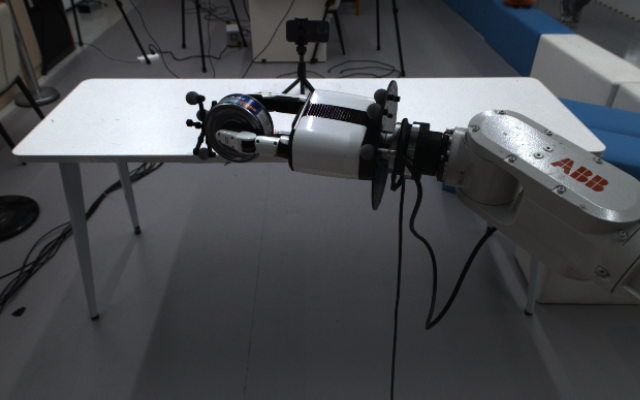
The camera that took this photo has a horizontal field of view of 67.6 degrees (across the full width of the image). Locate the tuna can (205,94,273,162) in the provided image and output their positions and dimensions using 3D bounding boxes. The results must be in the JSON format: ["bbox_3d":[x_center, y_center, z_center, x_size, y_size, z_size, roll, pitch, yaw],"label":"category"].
[{"bbox_3d":[-0.105,-0.094,0.632,0.085,0.085,0.034,9,33,10],"label":"tuna can"}]
